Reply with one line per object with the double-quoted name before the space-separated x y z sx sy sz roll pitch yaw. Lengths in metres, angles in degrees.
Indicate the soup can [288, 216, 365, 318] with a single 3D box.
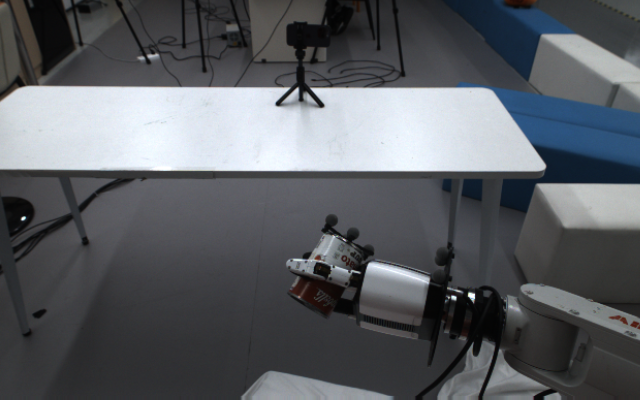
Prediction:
"soup can" 0.009 0.104 0.672 0.067 0.067 0.101 24 72 29
